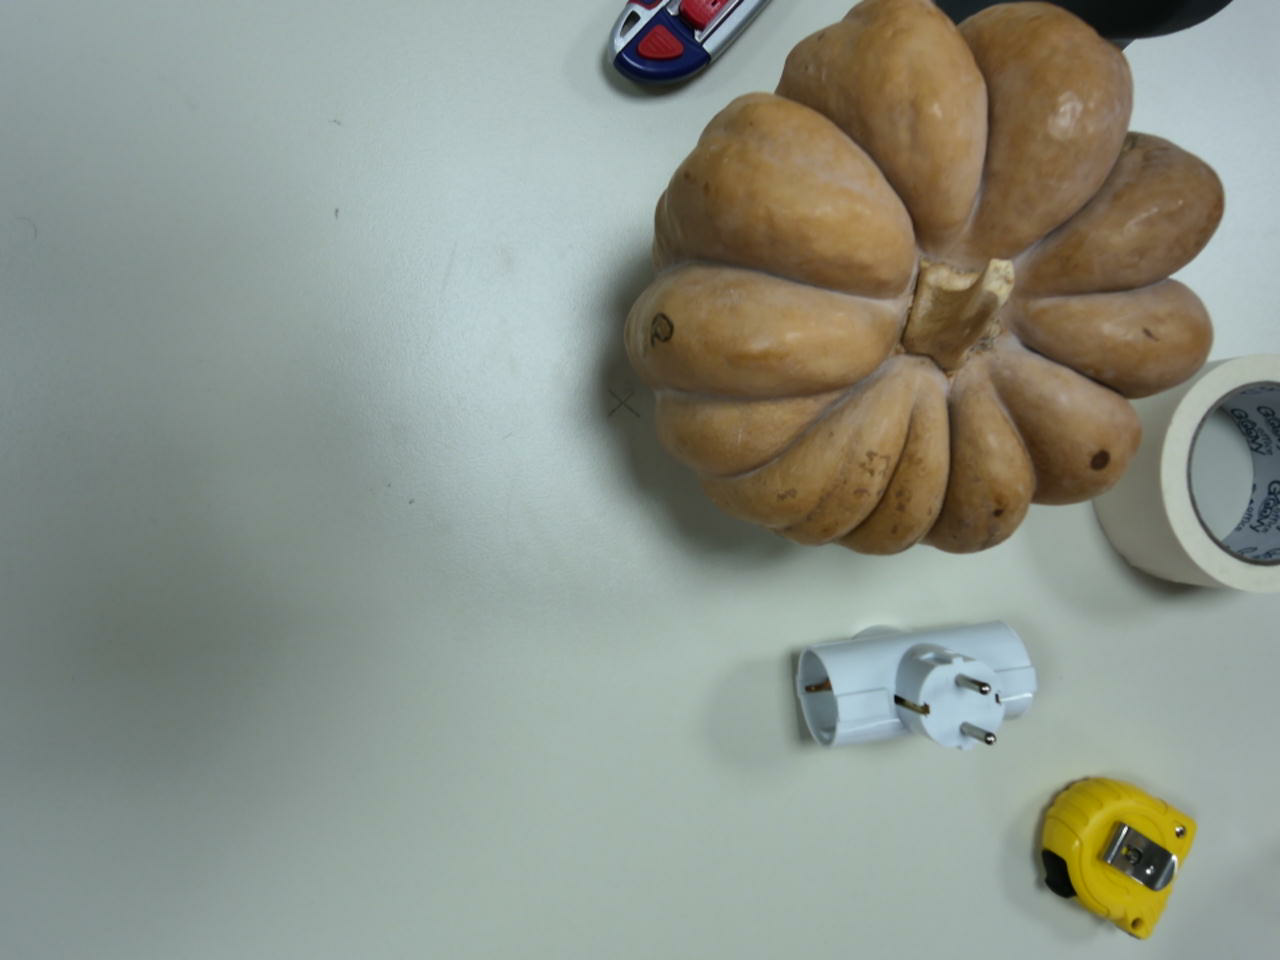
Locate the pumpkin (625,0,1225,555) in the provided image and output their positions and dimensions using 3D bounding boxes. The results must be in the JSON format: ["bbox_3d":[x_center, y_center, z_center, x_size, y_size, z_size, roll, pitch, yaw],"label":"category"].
[{"bbox_3d":[0.093,-0.066,0.369,0.199,0.177,0.198,0,91,-12],"label":"pumpkin"}]
